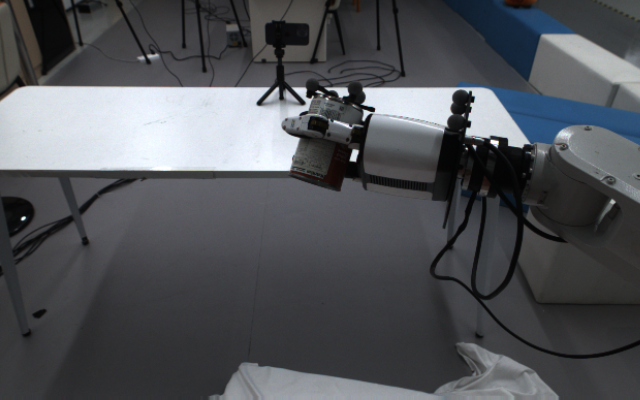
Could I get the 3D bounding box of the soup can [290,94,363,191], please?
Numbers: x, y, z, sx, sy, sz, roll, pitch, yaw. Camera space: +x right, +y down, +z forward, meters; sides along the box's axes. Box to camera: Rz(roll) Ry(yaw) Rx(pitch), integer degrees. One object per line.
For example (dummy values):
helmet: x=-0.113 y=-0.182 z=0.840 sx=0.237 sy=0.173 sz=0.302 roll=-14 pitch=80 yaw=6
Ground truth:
soup can: x=0.009 y=-0.068 z=0.592 sx=0.067 sy=0.101 sz=0.067 roll=17 pitch=-2 yaw=0
